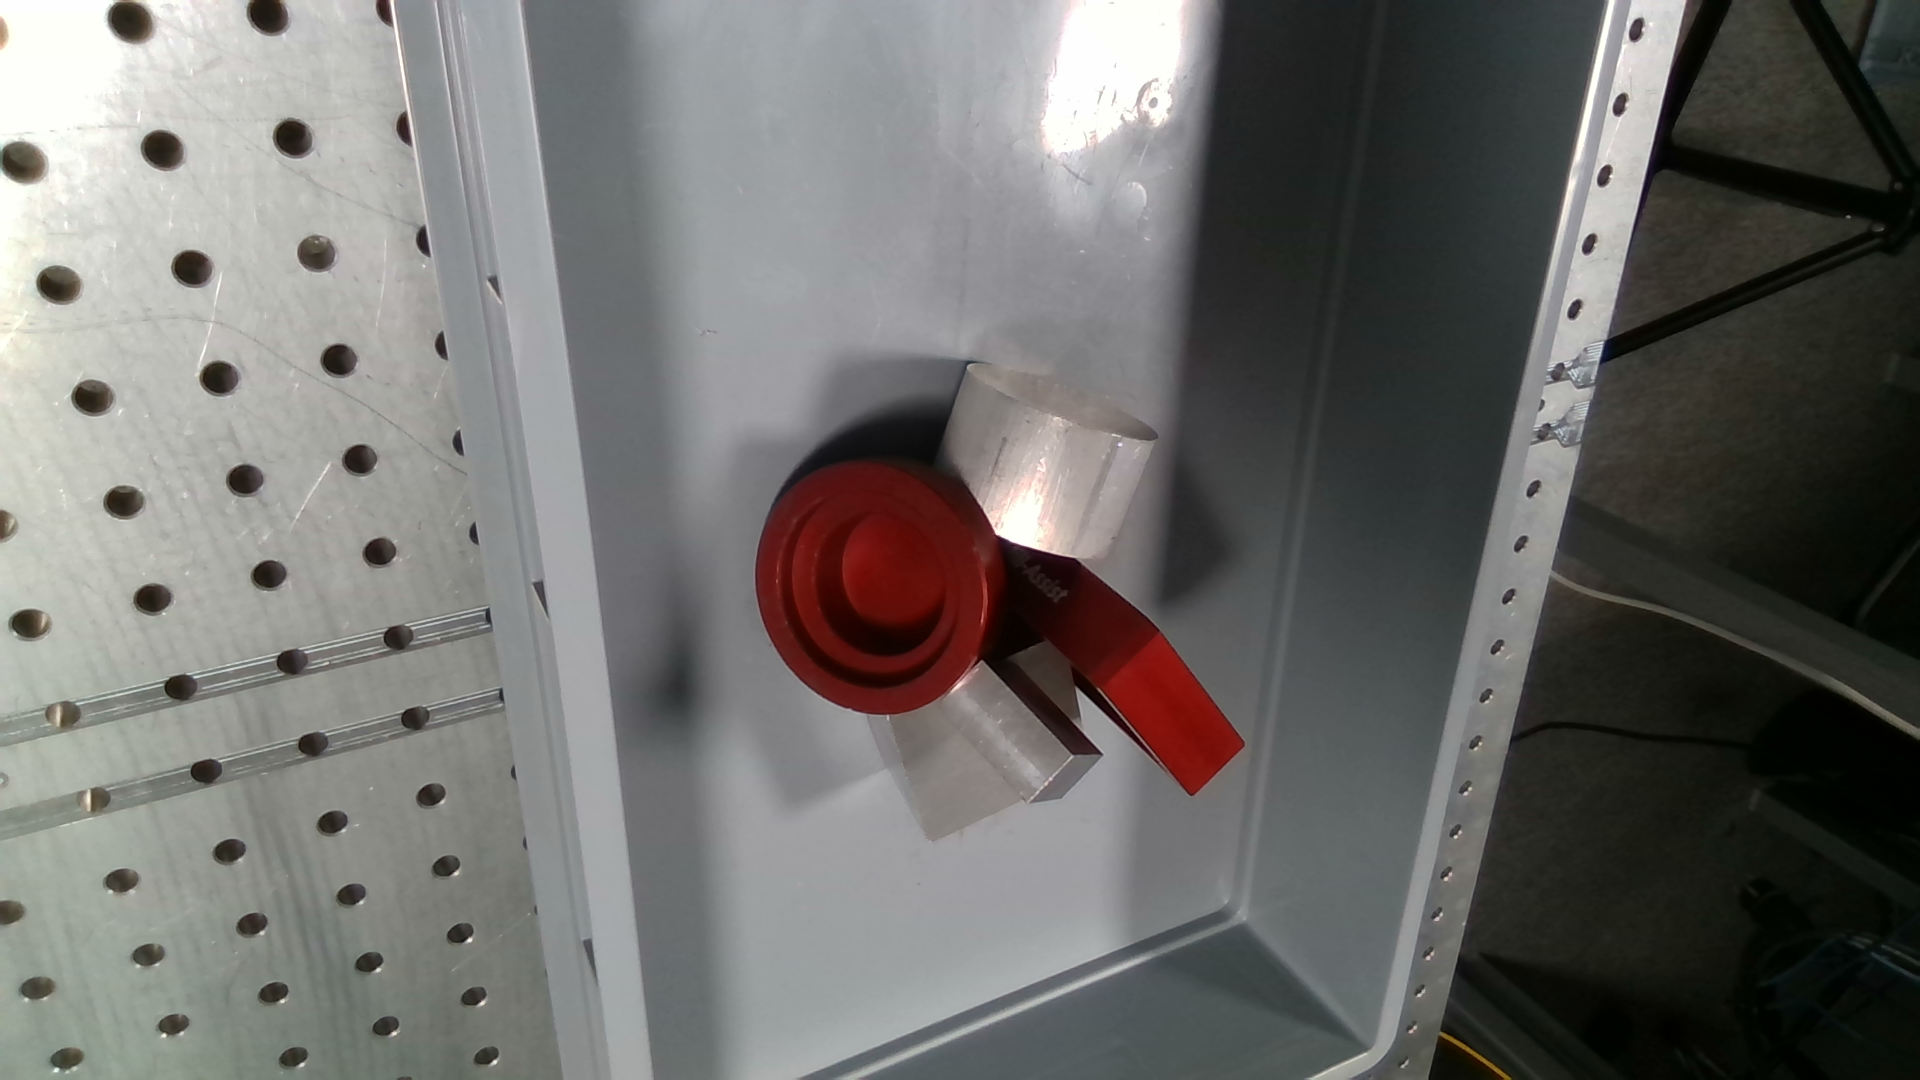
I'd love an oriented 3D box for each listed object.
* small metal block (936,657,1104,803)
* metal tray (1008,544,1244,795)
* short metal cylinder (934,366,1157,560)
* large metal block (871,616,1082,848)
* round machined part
[{"bbox_3d":[0.024,0.073,0.529,0.025,0.050,0.050,-47,161,7],"label":"small metal block"},{"bbox_3d":[0.051,0.039,0.563,0.030,0.130,0.090,-43,129,-3],"label":"metal tray"},{"bbox_3d":[0.032,-0.032,0.546,0.080,0.080,0.050,9,110,-35],"label":"short metal cylinder"},{"bbox_3d":[0.004,0.072,0.595,0.080,0.050,0.080,-24,125,-13],"label":"large metal block"},{"bbox_3d":[-0.027,0.015,0.536,0.042,0.098,0.098,-23,135,-65],"label":"round machined part"}]
